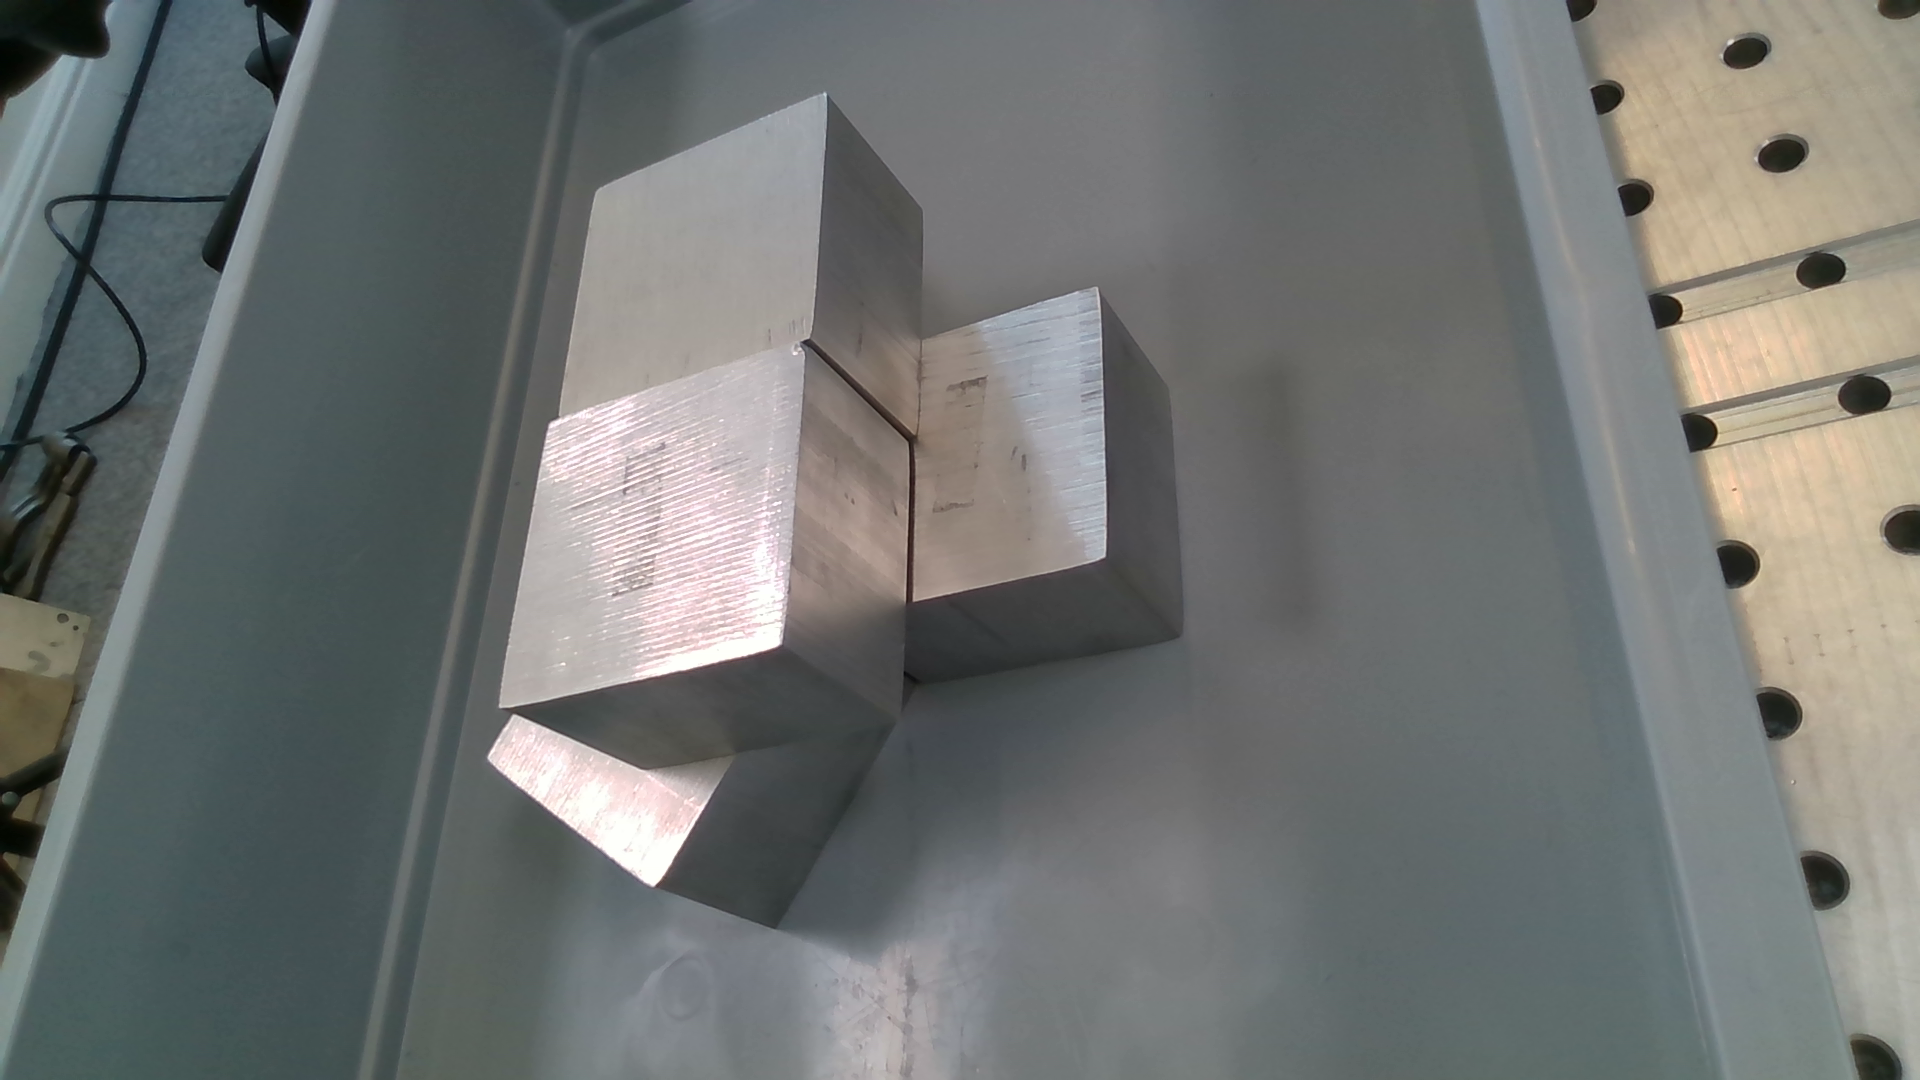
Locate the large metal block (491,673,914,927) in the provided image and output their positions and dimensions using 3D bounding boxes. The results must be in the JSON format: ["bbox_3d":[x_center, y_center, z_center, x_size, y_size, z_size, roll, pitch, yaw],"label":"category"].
[{"bbox_3d":[-0.073,0.050,0.392,0.080,0.050,0.080,23,78,38],"label":"large metal block"}]

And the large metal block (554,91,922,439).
[{"bbox_3d":[-0.059,-0.064,0.381,0.080,0.050,0.080,-14,59,25],"label":"large metal block"}]

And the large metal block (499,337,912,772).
[{"bbox_3d":[-0.060,0.006,0.343,0.080,0.050,0.080,-14,59,25],"label":"large metal block"}]

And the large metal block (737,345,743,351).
[{"bbox_3d":[-0.067,-0.044,0.440,0.080,0.050,0.080,-37,52,10],"label":"large metal block"}]

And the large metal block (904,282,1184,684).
[{"bbox_3d":[0.012,-0.013,0.375,0.080,0.050,0.080,-13,59,26],"label":"large metal block"}]
